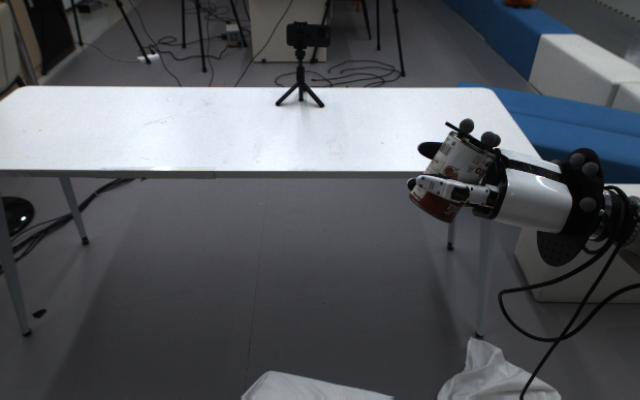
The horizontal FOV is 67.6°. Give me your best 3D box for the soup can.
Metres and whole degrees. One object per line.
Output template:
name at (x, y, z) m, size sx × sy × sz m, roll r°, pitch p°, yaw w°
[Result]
soup can at (0.173, -0.031, 0.633) m, size 0.067 × 0.101 × 0.067 m, roll 27°, pitch 18°, yaw -9°
